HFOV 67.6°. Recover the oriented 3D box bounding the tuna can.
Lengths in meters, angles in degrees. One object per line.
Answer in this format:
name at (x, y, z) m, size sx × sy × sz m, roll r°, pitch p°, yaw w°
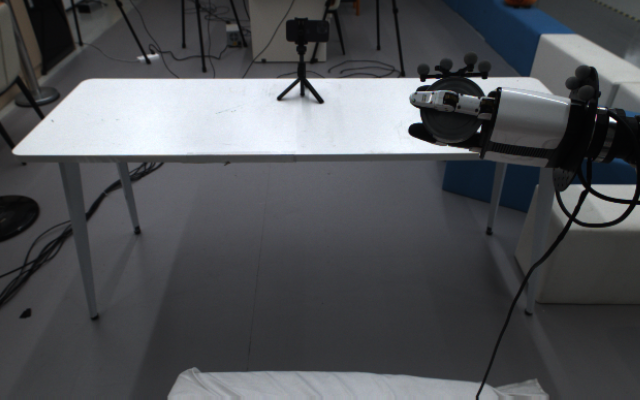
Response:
tuna can at (0.180, -0.123, 0.654) m, size 0.085 × 0.085 × 0.034 m, roll 13°, pitch -1°, yaw 16°
